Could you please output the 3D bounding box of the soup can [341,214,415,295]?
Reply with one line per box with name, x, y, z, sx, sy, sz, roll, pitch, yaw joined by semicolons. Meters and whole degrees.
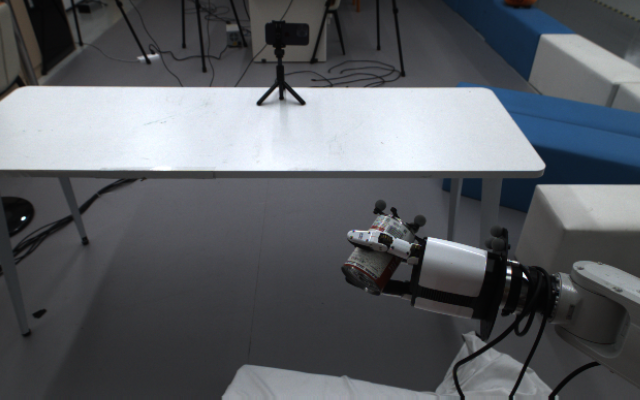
soup can;0.087;0.078;0.711;0.067;0.067;0.101;25;67;30
